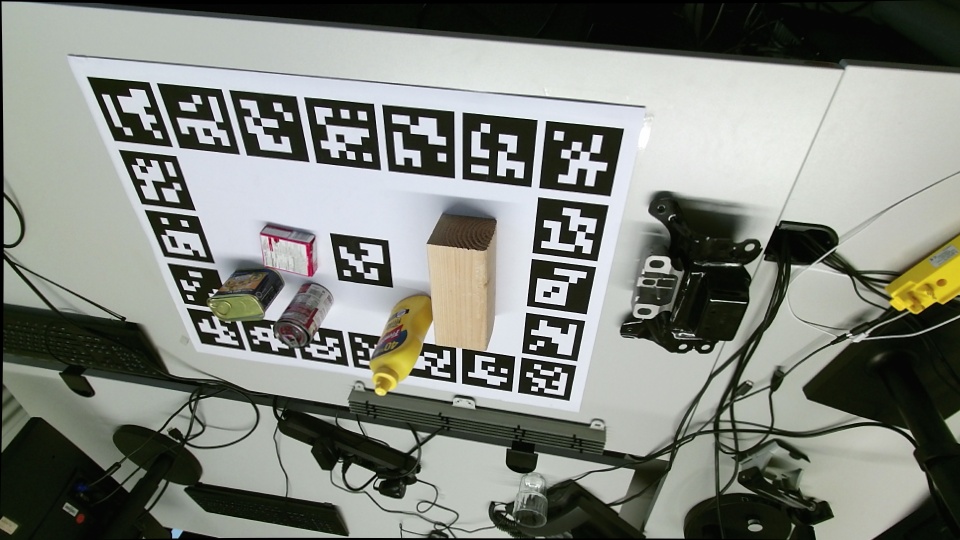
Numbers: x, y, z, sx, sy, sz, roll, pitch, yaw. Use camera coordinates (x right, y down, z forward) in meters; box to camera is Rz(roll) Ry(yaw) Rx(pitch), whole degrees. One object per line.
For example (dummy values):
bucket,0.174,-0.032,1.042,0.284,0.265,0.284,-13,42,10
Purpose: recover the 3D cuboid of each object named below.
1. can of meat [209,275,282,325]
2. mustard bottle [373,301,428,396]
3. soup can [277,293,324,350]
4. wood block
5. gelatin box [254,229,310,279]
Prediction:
can of meat,-0.419,0.055,0.960,0.102,0.083,0.058,-3,124,17
mustard bottle,-0.140,0.132,0.894,0.096,0.191,0.058,-14,122,23
soup can,-0.327,0.096,0.947,0.068,0.101,0.068,5,125,8
wood block,-0.032,0.033,0.856,0.091,0.089,0.206,9,131,8
gelatin box,-0.337,-0.024,0.912,0.090,0.030,0.073,14,125,-1
